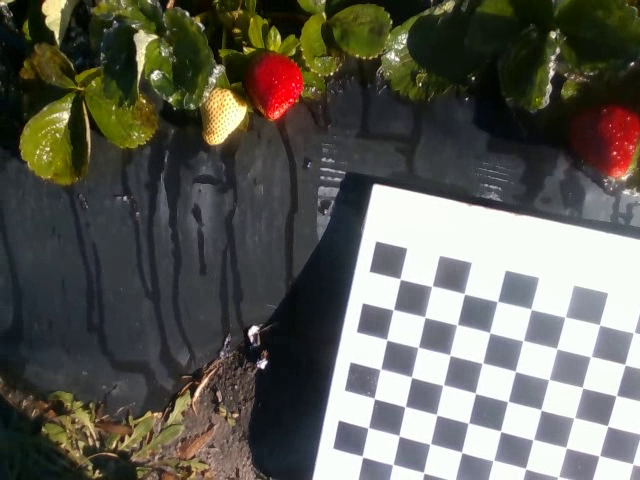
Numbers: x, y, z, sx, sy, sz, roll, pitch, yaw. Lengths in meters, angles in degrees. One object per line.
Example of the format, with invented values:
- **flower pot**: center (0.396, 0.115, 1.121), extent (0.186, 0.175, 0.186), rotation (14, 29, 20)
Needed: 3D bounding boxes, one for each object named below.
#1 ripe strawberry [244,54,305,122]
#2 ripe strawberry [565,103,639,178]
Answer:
- **ripe strawberry**: center (-0.031, -0.102, 0.398), extent (0.042, 0.061, 0.046), rotation (-2, -36, 8)
- **ripe strawberry**: center (0.193, -0.065, 0.368), extent (0.048, 0.061, 0.044), rotation (6, -25, 6)
